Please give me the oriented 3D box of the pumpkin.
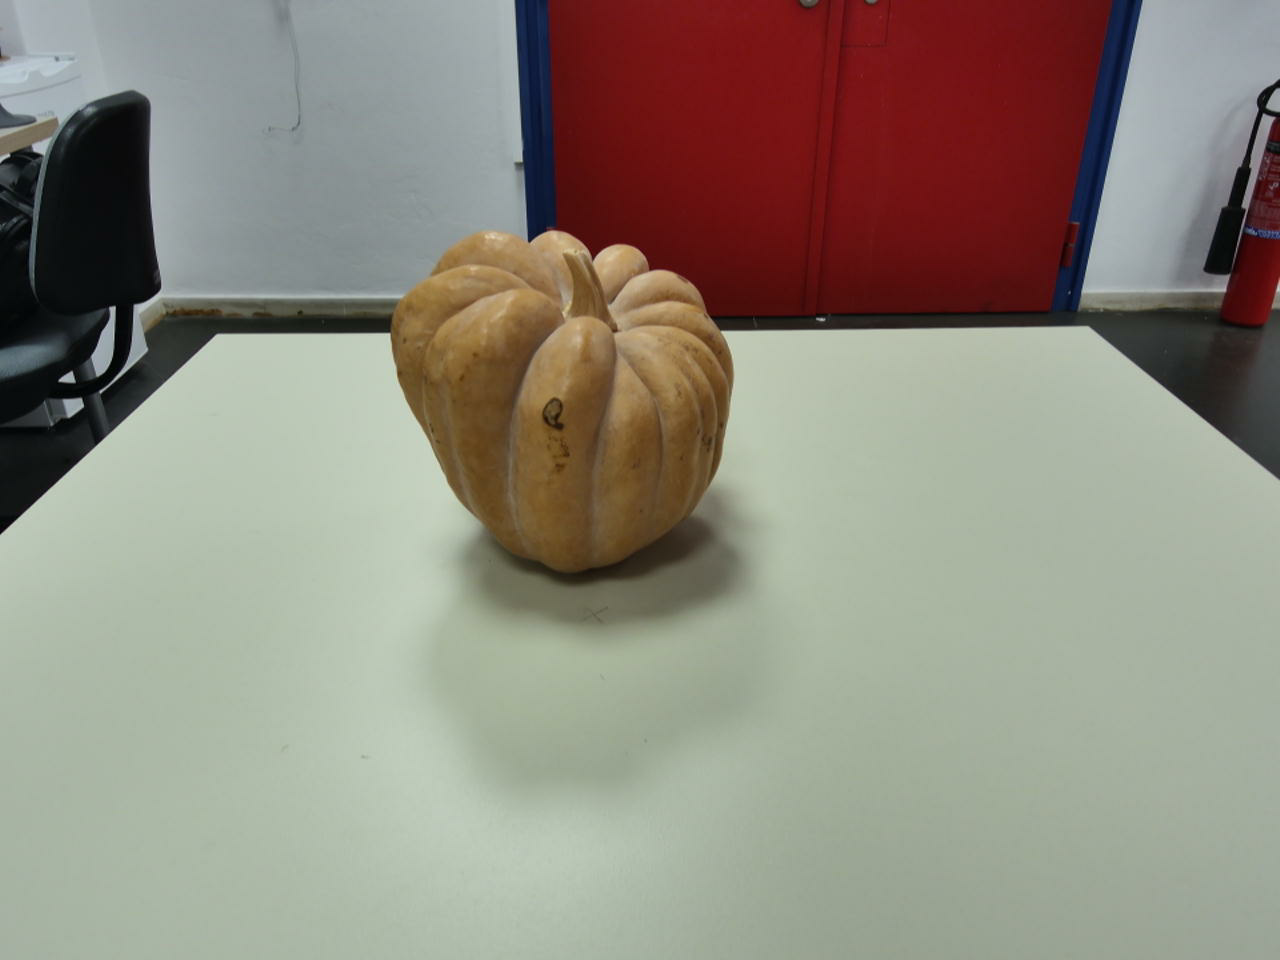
[{"bbox_3d":[-0.040,-0.046,0.564,0.199,0.177,0.198,0,26,0],"label":"pumpkin"}]
